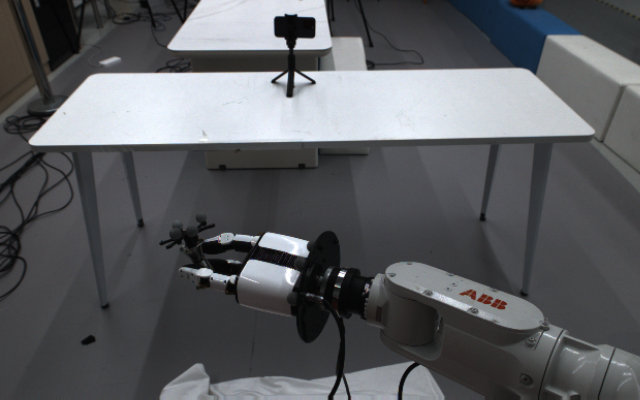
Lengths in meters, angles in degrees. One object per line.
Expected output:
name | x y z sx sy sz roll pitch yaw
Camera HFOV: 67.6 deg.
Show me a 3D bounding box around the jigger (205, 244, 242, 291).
jigger | -0.181 0.097 0.748 0.043 0.071 0.043 -19 16 6
